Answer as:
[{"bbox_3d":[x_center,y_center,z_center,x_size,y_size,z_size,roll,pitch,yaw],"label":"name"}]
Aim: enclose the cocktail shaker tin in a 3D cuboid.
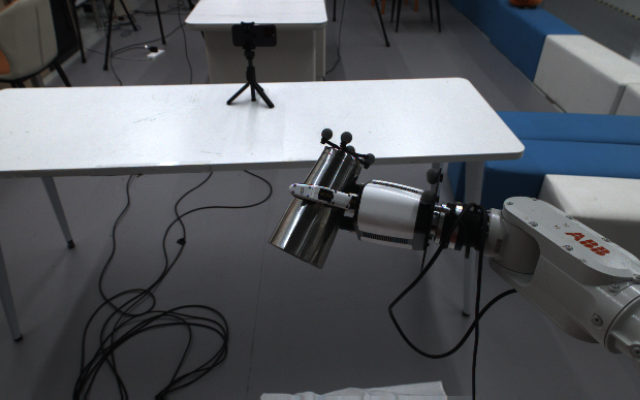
[{"bbox_3d":[0.001,0.005,0.738,0.093,0.093,0.170,21,81,25],"label":"cocktail shaker tin"}]
